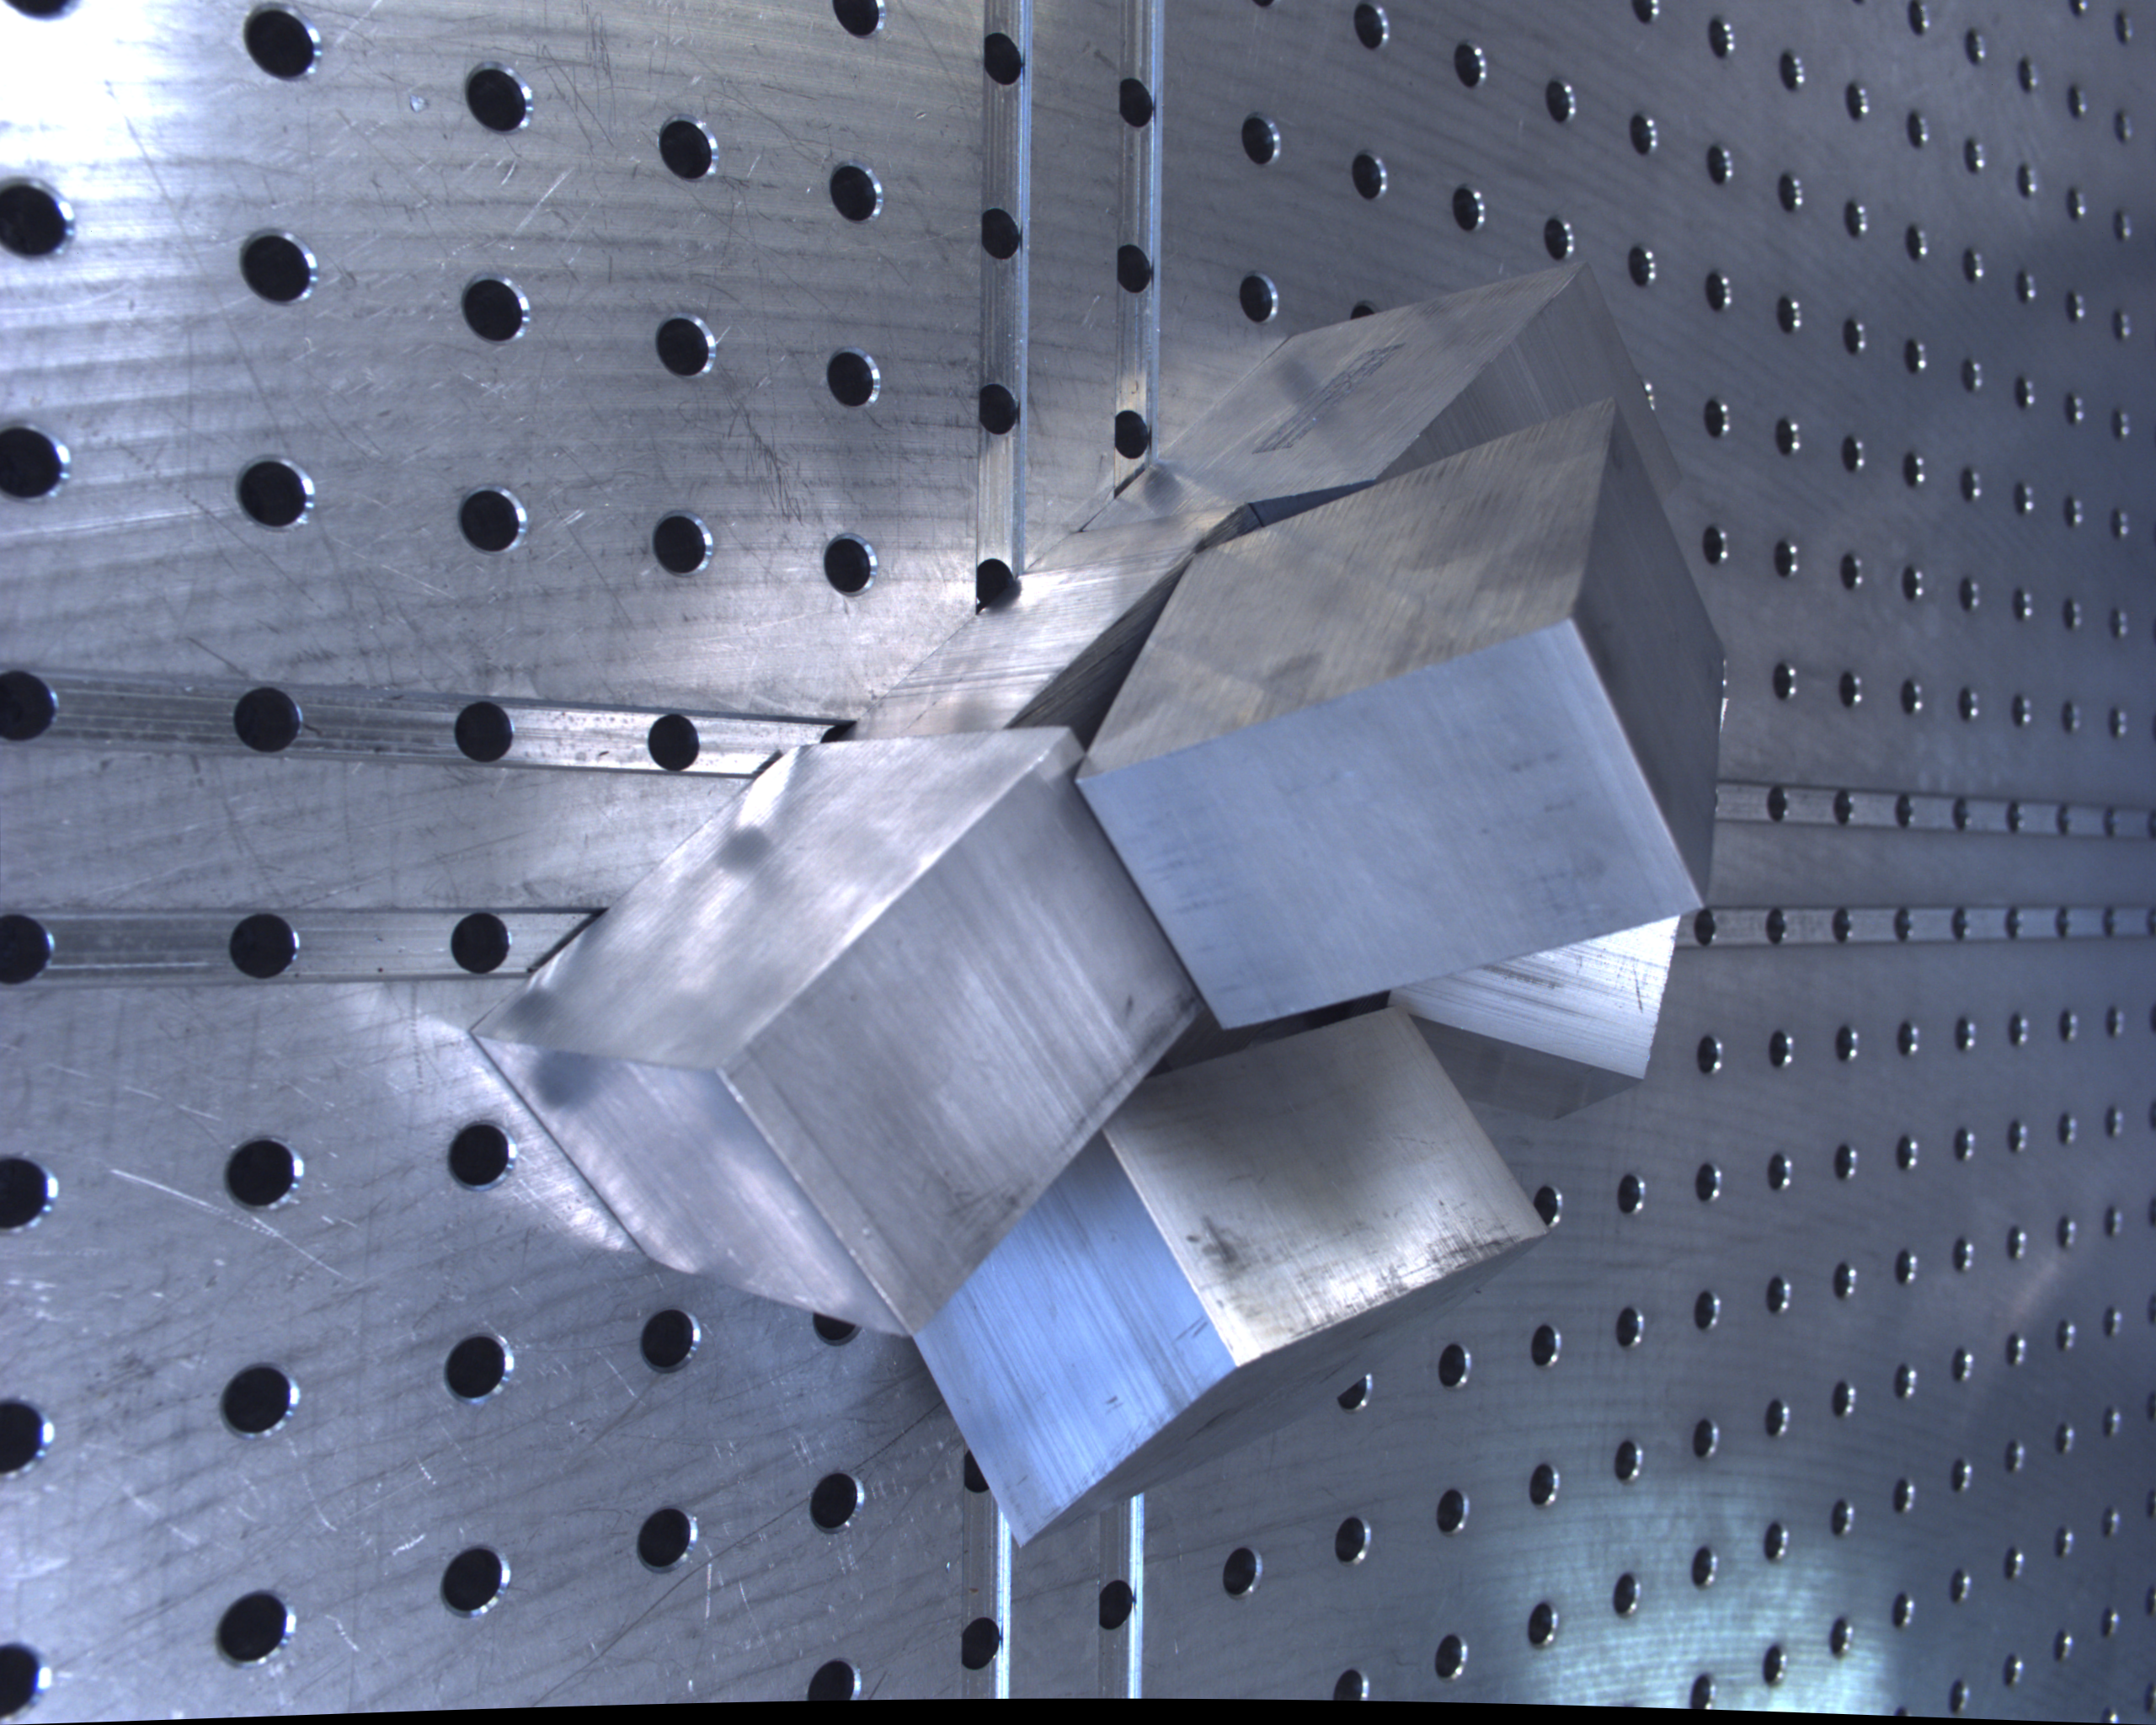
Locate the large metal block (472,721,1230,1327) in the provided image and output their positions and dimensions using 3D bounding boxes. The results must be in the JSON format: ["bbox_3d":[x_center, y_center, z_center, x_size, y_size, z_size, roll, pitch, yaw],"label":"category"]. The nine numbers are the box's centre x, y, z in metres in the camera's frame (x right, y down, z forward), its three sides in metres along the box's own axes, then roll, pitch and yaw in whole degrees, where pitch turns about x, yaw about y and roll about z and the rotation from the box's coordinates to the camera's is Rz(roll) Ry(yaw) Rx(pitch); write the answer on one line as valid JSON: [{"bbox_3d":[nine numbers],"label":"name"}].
[{"bbox_3d":[-0.037,0.022,0.340,0.080,0.080,0.050,-46,118,-30],"label":"large metal block"}]

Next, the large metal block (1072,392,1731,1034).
[{"bbox_3d":[0.056,-0.025,0.337,0.050,0.080,0.080,60,31,-23],"label":"large metal block"}]

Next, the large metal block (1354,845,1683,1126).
[{"bbox_3d":[0.093,0.007,0.441,0.050,0.080,0.080,15,77,3],"label":"large metal block"}]

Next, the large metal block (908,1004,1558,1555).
[{"bbox_3d":[0.026,0.076,0.385,0.081,0.080,0.050,-11,61,-39],"label":"large metal block"}]

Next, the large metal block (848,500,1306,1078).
[{"bbox_3d":[0.010,-0.011,0.402,0.080,0.050,0.080,-47,118,-30],"label":"large metal block"}]

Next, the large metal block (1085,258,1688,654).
[{"bbox_3d":[0.062,-0.073,0.424,0.080,0.080,0.050,-47,119,-30],"label":"large metal block"}]
